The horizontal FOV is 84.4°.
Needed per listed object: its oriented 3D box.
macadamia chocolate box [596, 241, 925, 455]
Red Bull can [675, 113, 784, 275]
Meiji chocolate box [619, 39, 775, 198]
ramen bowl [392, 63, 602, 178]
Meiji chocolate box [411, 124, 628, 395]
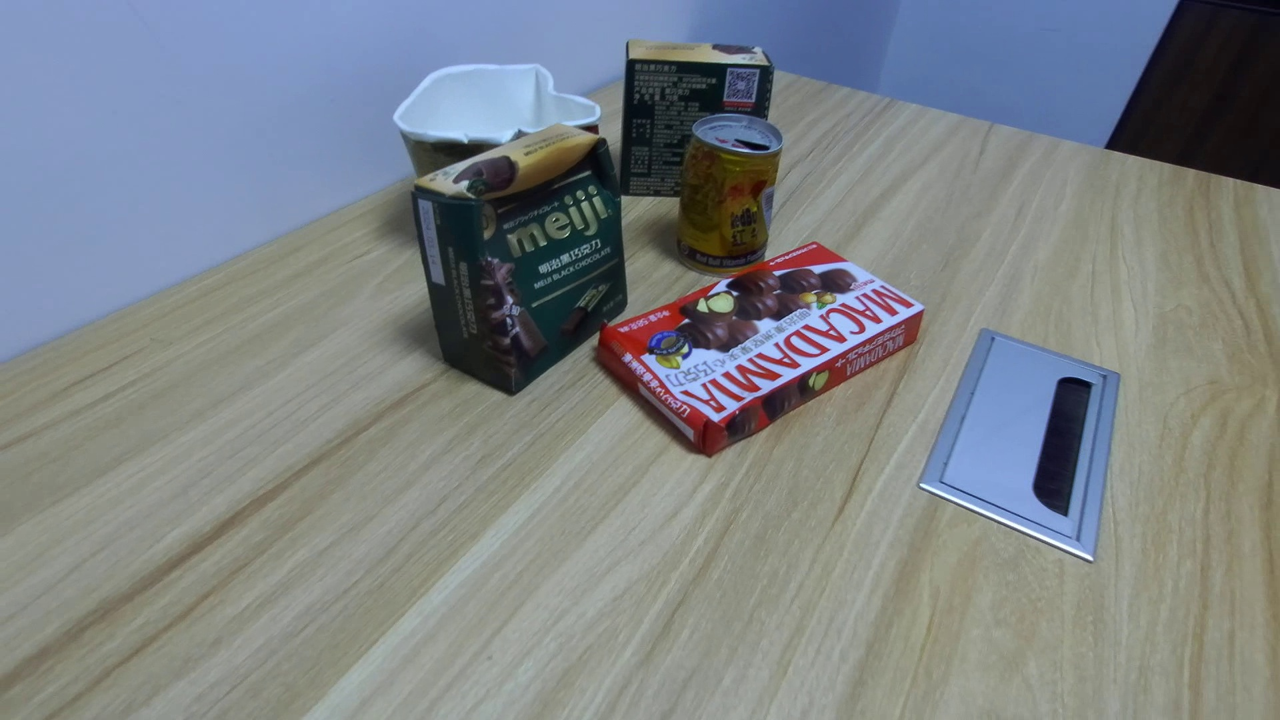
[{"bbox_3d":[0.075,-0.016,0.420,0.183,0.028,0.105,-24,47,-29],"label":"macadamia chocolate box"},{"bbox_3d":[0.060,-0.111,0.479,0.072,0.092,0.072,2,40,-2],"label":"Red Bull can"},{"bbox_3d":[0.043,-0.187,0.560,0.113,0.111,0.058,3,32,-1],"label":"Meiji chocolate box"},{"bbox_3d":[-0.100,-0.139,0.494,0.134,0.097,0.113,-22,47,-29],"label":"ramen bowl"},{"bbox_3d":[-0.060,-0.062,0.399,0.051,0.117,0.117,19,40,31],"label":"Meiji chocolate box"}]
